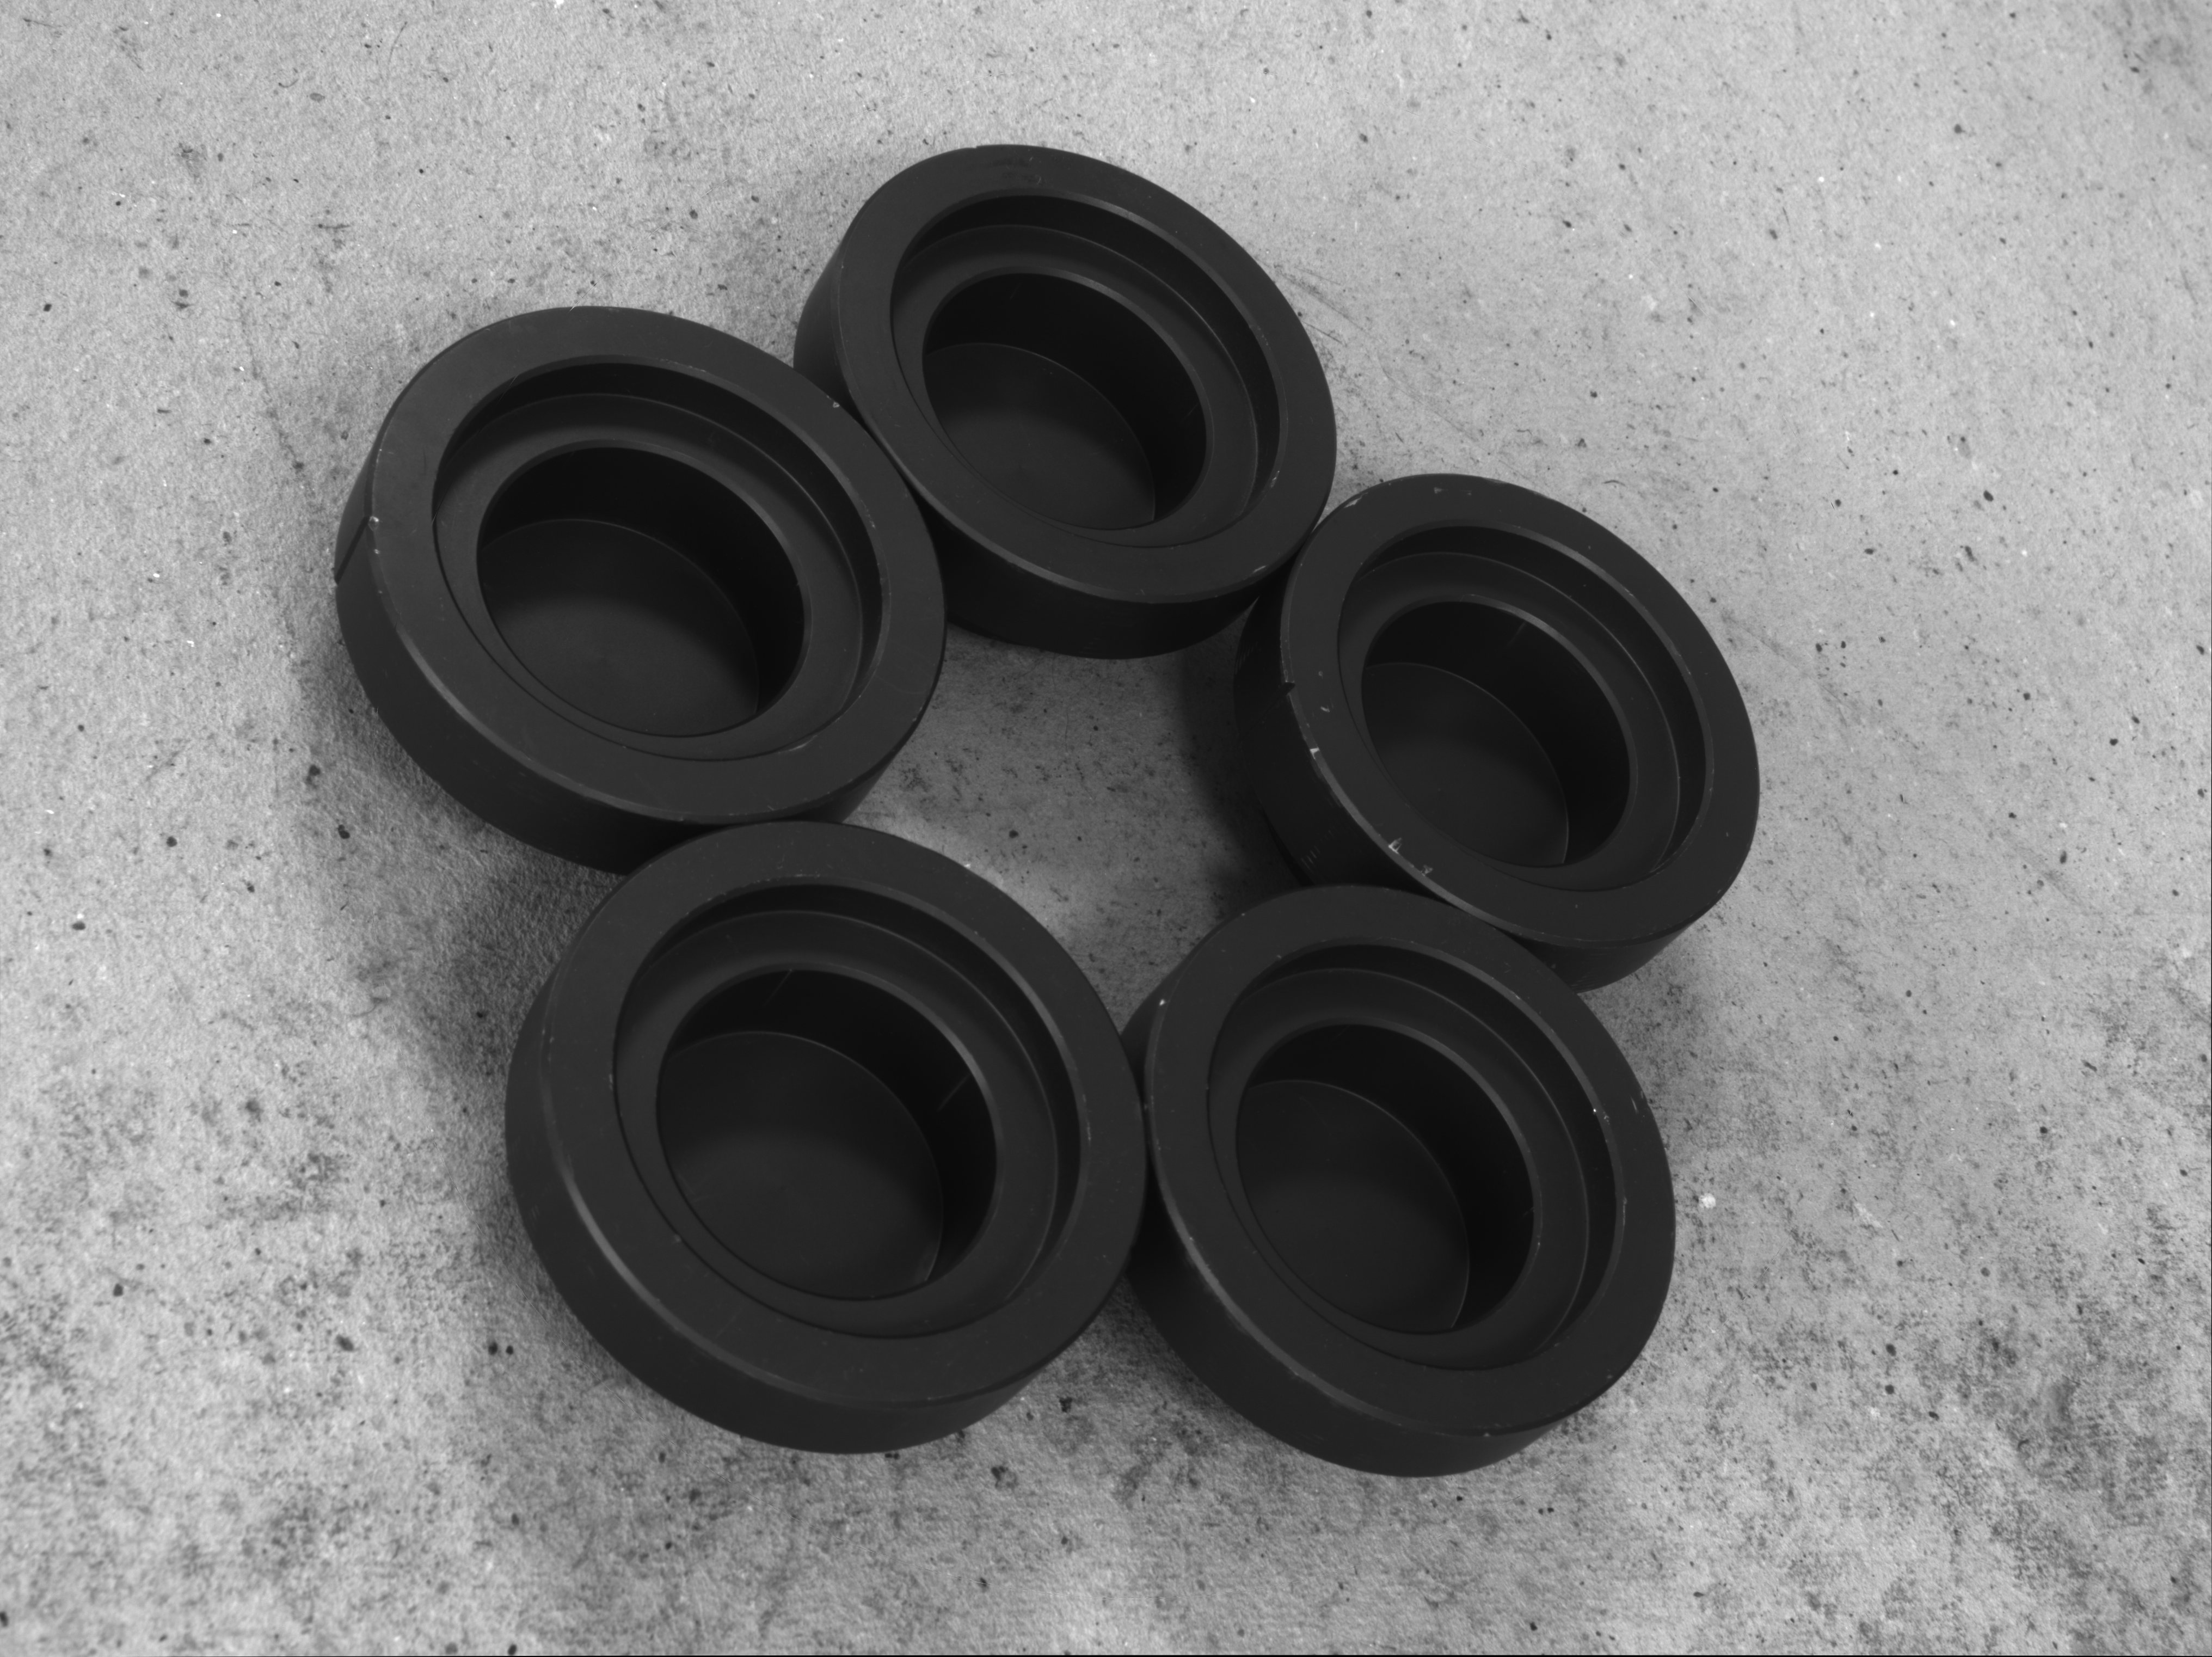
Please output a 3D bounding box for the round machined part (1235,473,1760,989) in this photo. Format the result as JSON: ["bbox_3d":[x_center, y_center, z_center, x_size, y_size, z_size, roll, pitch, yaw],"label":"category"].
[{"bbox_3d":[0.067,-0.013,0.671,0.098,0.042,0.098,15,54,-21],"label":"round machined part"}]

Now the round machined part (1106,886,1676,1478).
[{"bbox_3d":[0.043,0.062,0.613,0.098,0.042,0.098,14,55,-21],"label":"round machined part"}]

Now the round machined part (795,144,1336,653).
[{"bbox_3d":[-0.011,-0.073,0.665,0.098,0.042,0.098,15,54,-21],"label":"round machined part"}]

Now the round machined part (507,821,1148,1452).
[{"bbox_3d":[-0.046,0.051,0.571,0.098,0.042,0.098,15,54,-21],"label":"round machined part"}]

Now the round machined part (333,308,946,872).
[{"bbox_3d":[-0.079,-0.034,0.606,0.098,0.042,0.098,14,54,-20],"label":"round machined part"}]
